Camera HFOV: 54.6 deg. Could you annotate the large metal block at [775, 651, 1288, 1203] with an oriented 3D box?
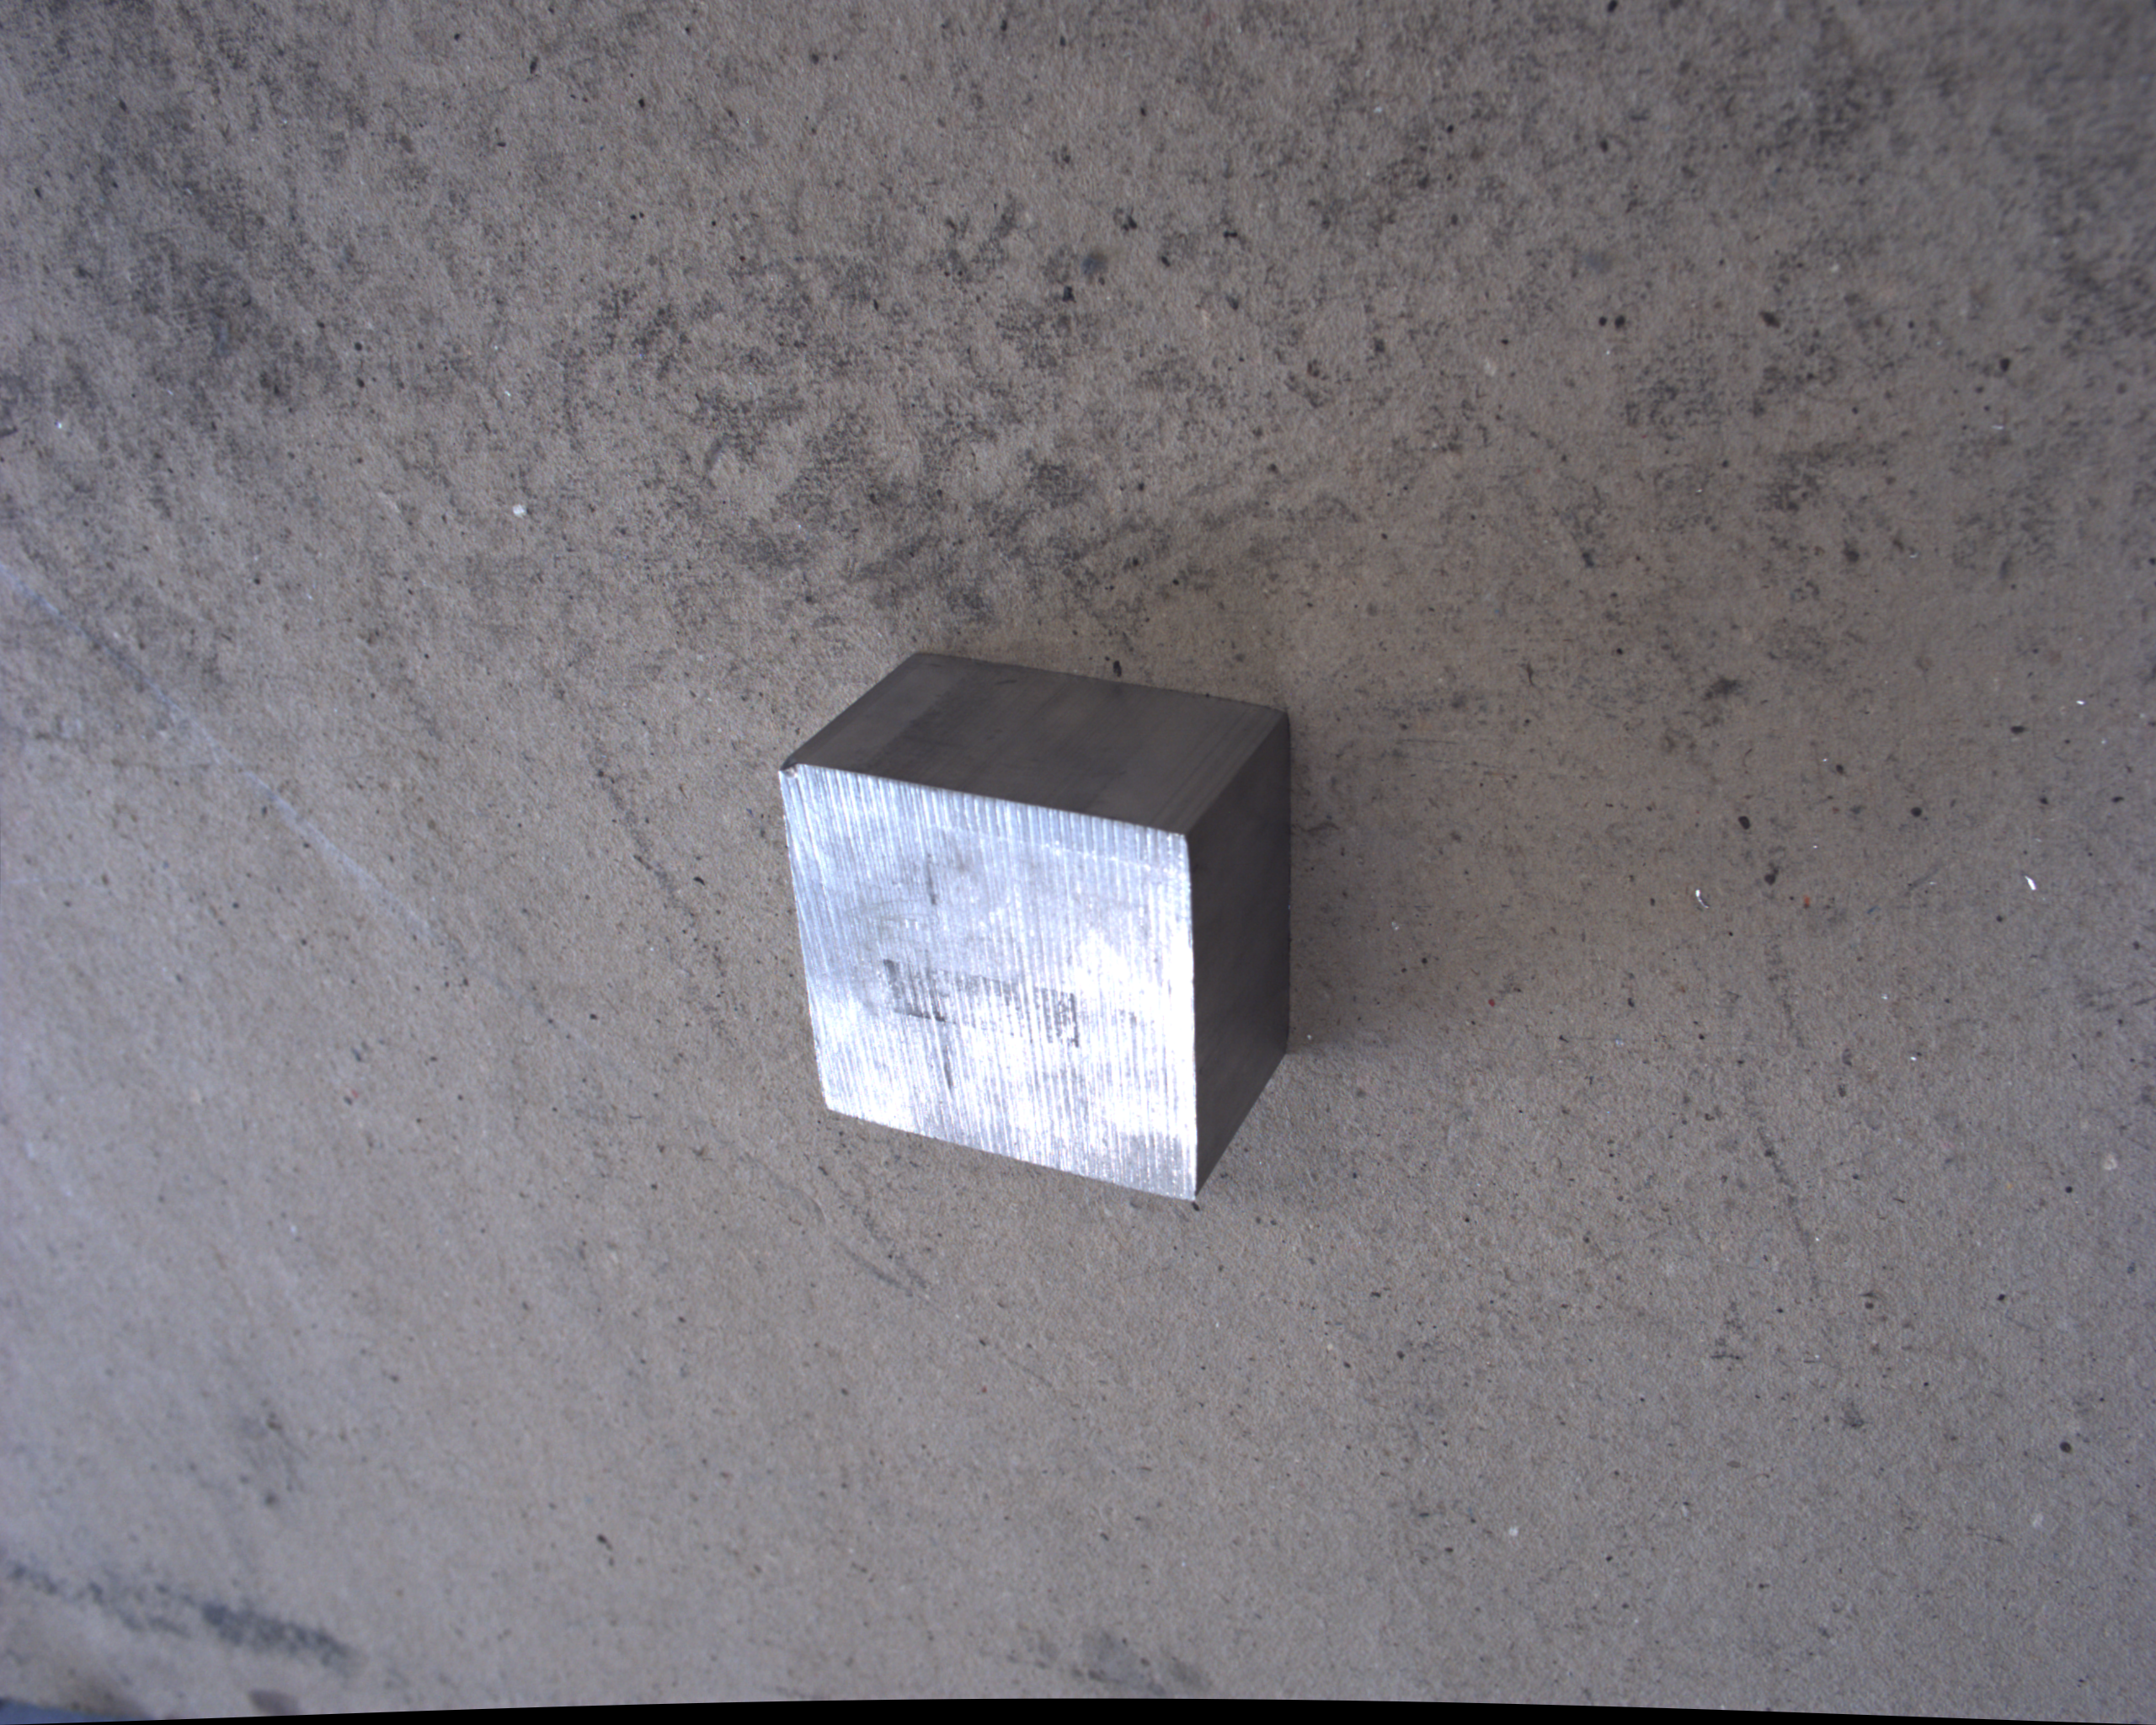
[{"bbox_3d":[-0.006,0.011,0.402,0.080,0.050,0.080,10,123,21],"label":"large metal block"}]
